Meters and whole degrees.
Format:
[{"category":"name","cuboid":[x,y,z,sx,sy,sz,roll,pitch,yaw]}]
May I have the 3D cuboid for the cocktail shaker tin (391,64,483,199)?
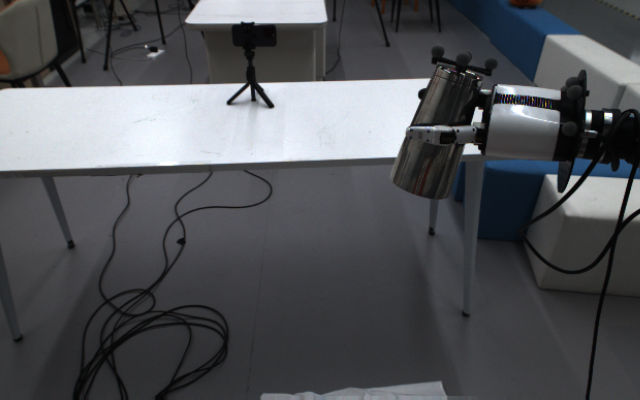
[{"category":"cocktail shaker tin","cuboid":[0.169,-0.101,0.683,0.093,0.170,0.093,12,24,-5]}]
